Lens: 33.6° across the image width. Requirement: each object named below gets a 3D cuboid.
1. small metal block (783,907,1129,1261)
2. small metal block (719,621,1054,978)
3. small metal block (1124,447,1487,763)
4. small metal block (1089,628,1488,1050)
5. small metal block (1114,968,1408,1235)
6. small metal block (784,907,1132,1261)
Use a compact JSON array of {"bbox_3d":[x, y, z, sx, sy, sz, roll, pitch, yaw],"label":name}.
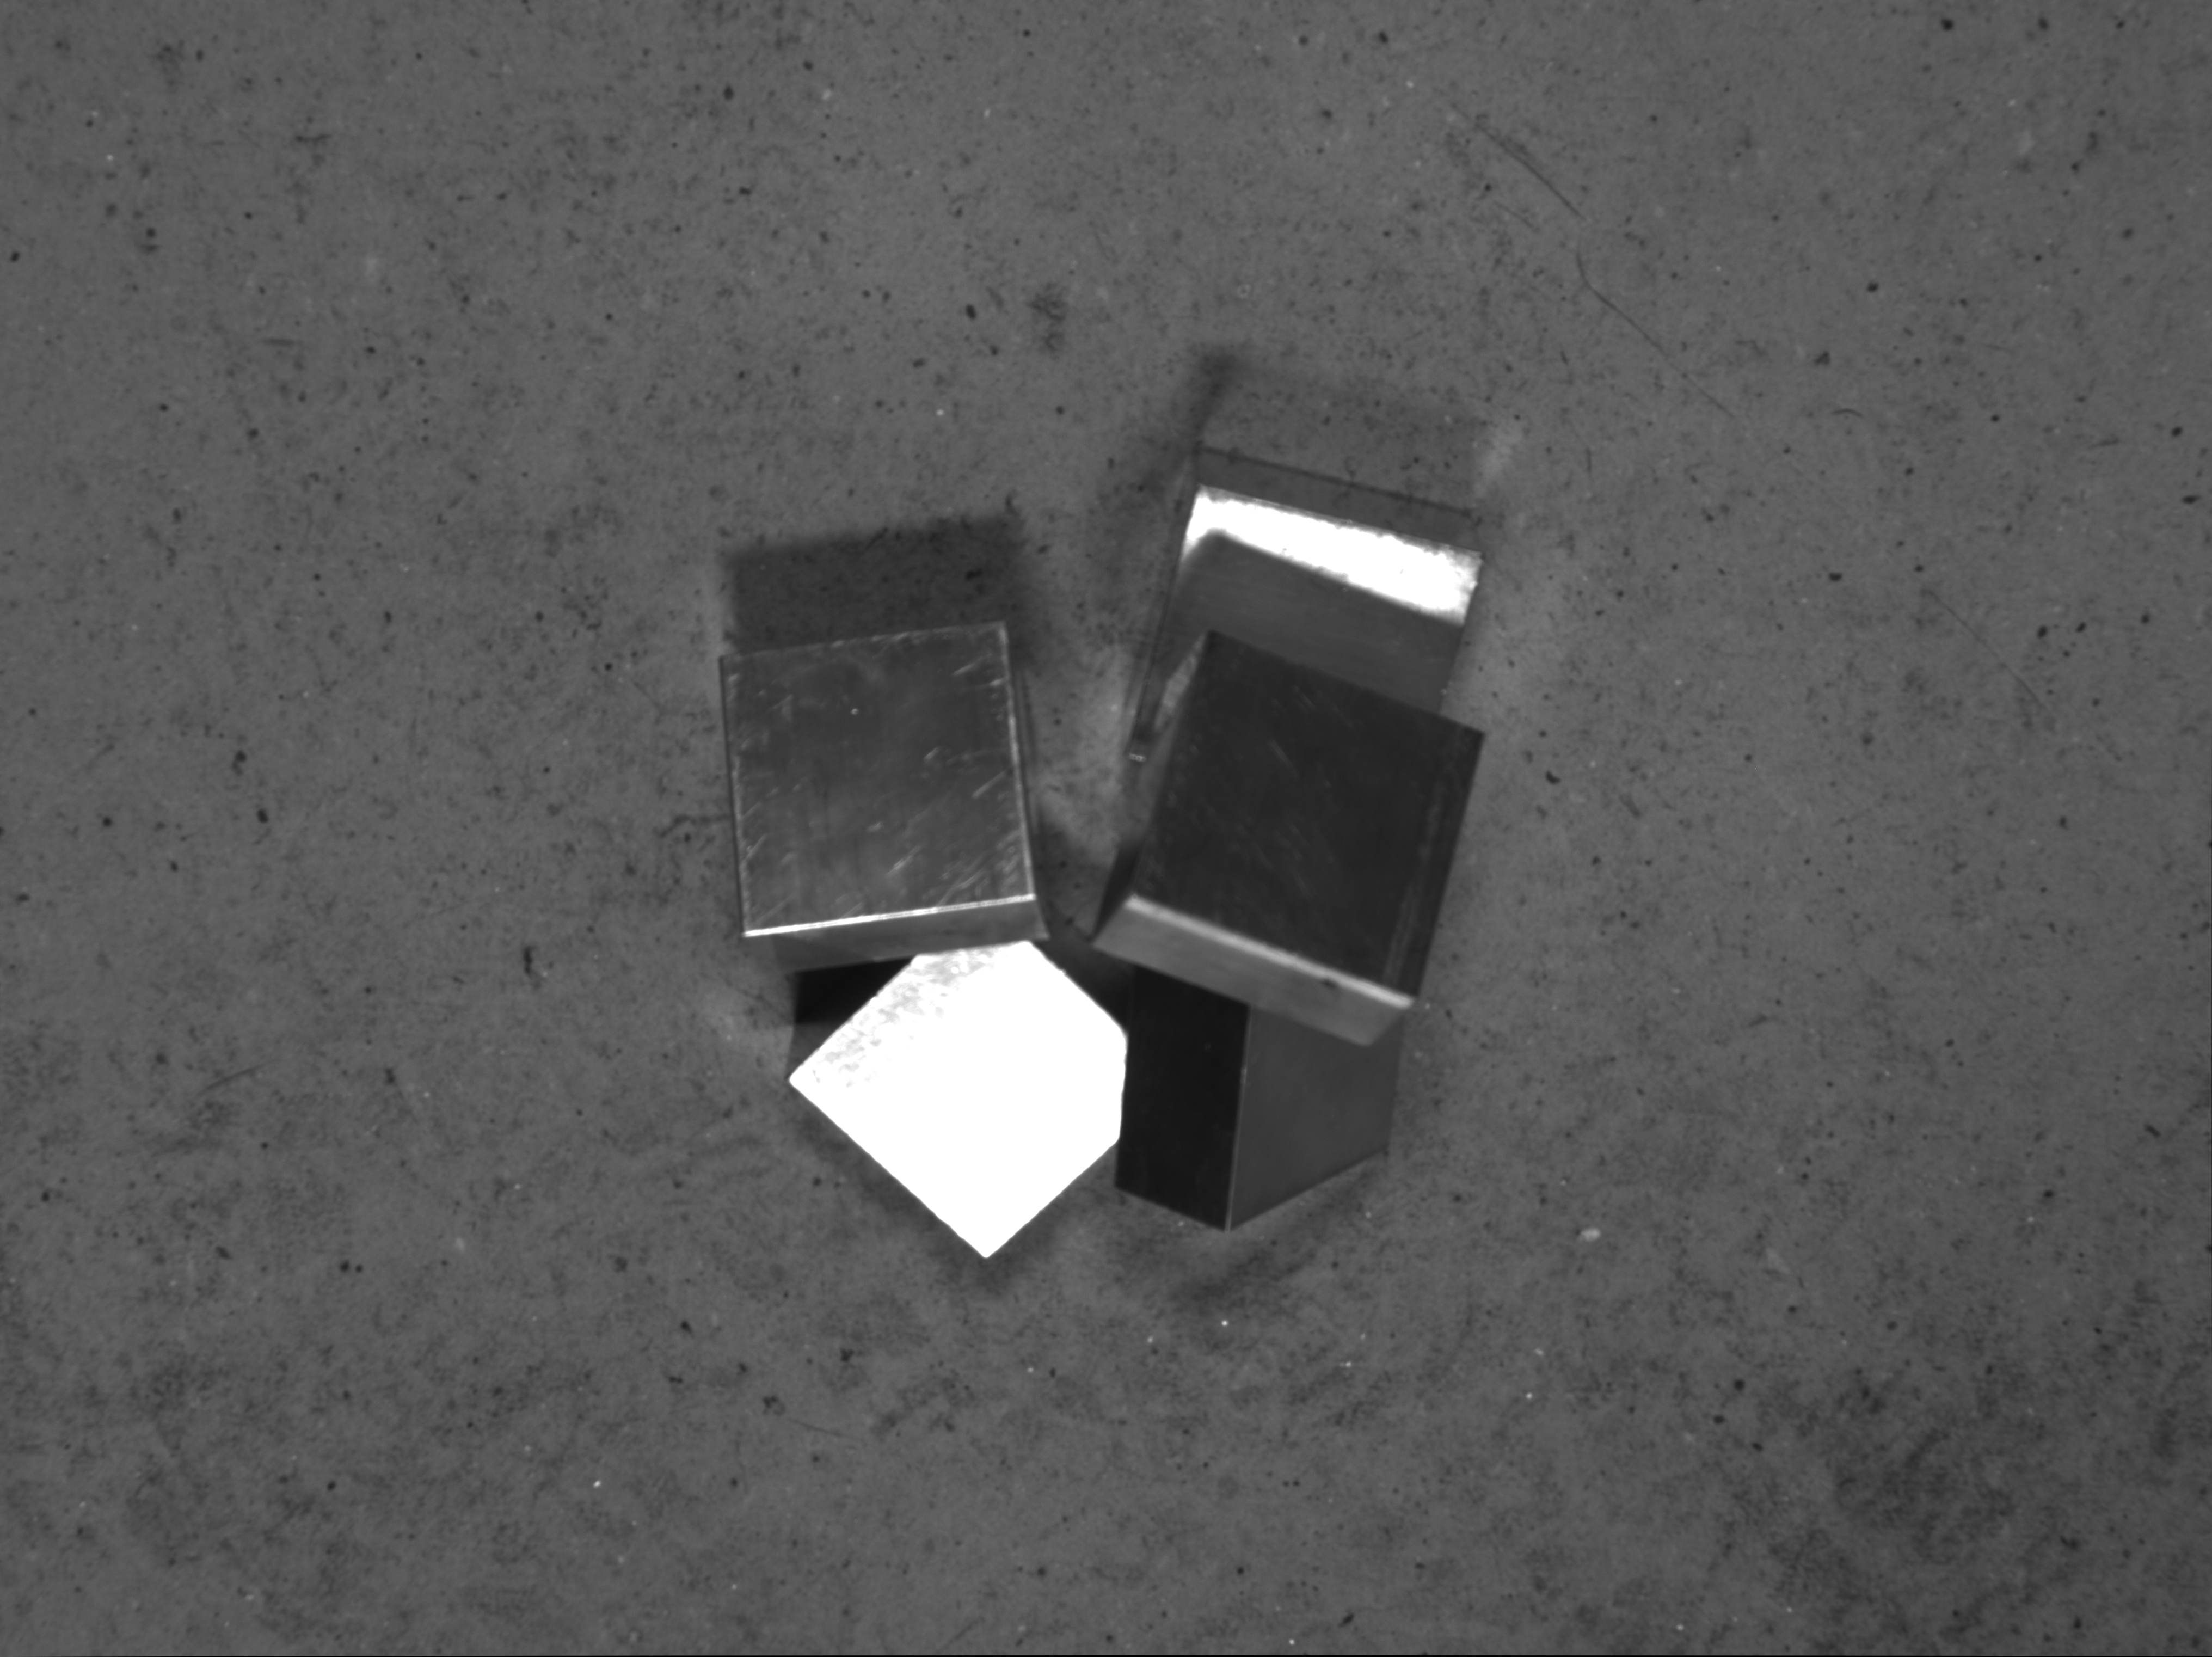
[{"bbox_3d":[-0.022,0.040,0.658,0.050,0.025,0.050,-43,105,13],"label":"small metal block"},{"bbox_3d":[-0.038,-0.005,0.628,0.050,0.025,0.050,-7,72,2],"label":"small metal block"},{"bbox_3d":[0.034,-0.033,0.632,0.050,0.025,0.050,13,109,-5],"label":"small metal block"},{"bbox_3d":[0.030,0.002,0.603,0.050,0.025,0.050,20,65,-8],"label":"small metal block"},{"bbox_3d":[0.029,0.037,0.641,0.025,0.050,0.050,19,113,34],"label":"small metal block"},{"bbox_3d":[-0.022,0.040,0.658,0.050,0.025,0.050,-43,105,13],"label":"small metal block"}]
